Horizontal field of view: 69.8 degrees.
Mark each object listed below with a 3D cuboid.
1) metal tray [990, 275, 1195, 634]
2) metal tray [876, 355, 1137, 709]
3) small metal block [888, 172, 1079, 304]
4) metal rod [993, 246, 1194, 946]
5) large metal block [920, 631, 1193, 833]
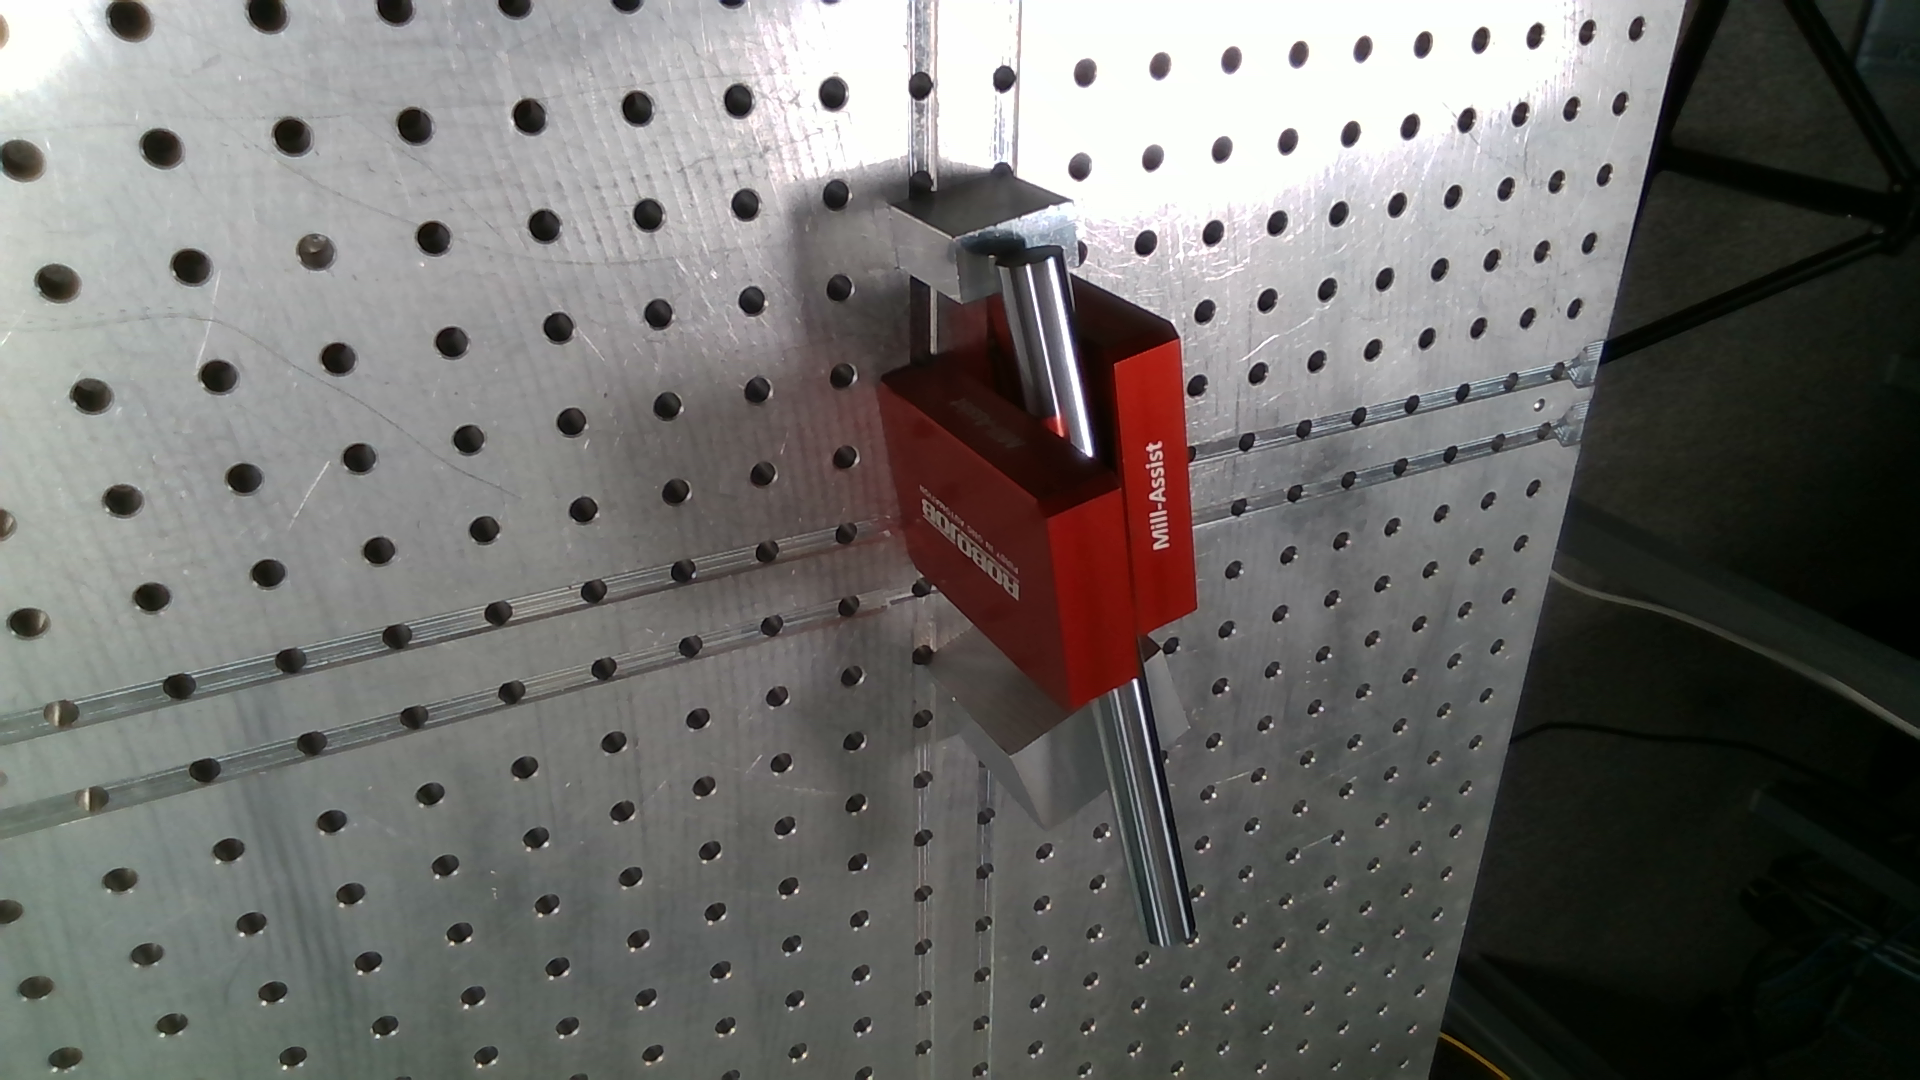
[{"bbox_3d":[0.054,-0.036,0.554,0.030,0.090,0.130,-22,124,-19],"label":"metal tray"},{"bbox_3d":[0.015,-0.006,0.522,0.030,0.130,0.090,-23,125,-19],"label":"metal tray"},{"bbox_3d":[0.008,-0.114,0.511,0.050,0.050,0.025,-22,124,-20],"label":"small metal block"},{"bbox_3d":[0.056,0.035,0.540,0.025,0.025,0.301,-23,115,-20],"label":"metal rod"},{"bbox_3d":[0.042,0.068,0.610,0.080,0.080,0.050,-34,128,-12],"label":"large metal block"}]
